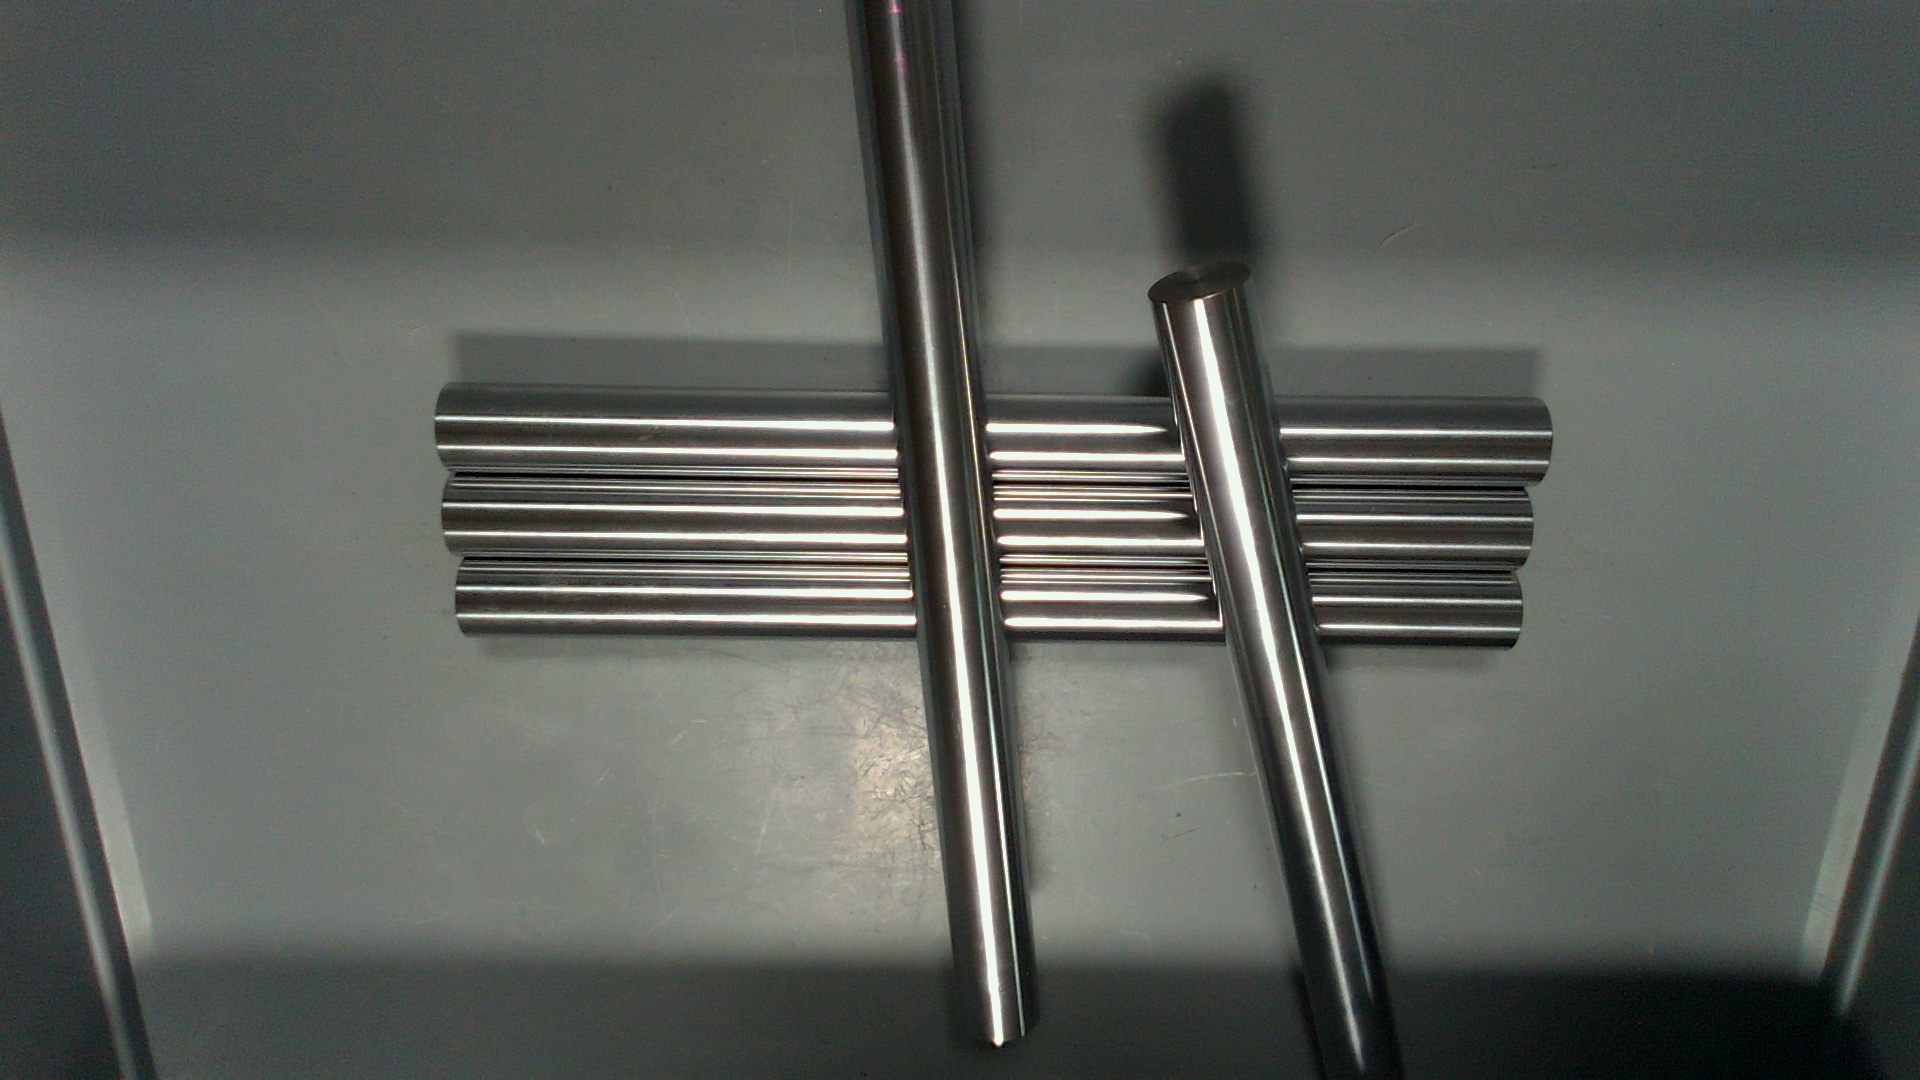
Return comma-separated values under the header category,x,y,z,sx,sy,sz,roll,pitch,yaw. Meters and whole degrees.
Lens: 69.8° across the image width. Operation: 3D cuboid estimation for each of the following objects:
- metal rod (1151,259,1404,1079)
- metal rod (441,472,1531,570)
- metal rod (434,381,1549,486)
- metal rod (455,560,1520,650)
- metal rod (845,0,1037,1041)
category,x,y,z,sx,sy,sz,roll,pitch,yaw
metal rod,0.099,0.066,0.396,0.025,0.025,0.300,-15,116,5
metal rod,0.008,-0.006,0.391,0.300,0.025,0.025,1,110,-1
metal rod,0.009,-0.029,0.382,0.300,0.025,0.025,1,110,-1
metal rod,0.008,0.017,0.400,0.300,0.025,0.025,1,110,-1
metal rod,-0.002,0.004,0.368,0.025,0.025,0.300,-5,110,2
